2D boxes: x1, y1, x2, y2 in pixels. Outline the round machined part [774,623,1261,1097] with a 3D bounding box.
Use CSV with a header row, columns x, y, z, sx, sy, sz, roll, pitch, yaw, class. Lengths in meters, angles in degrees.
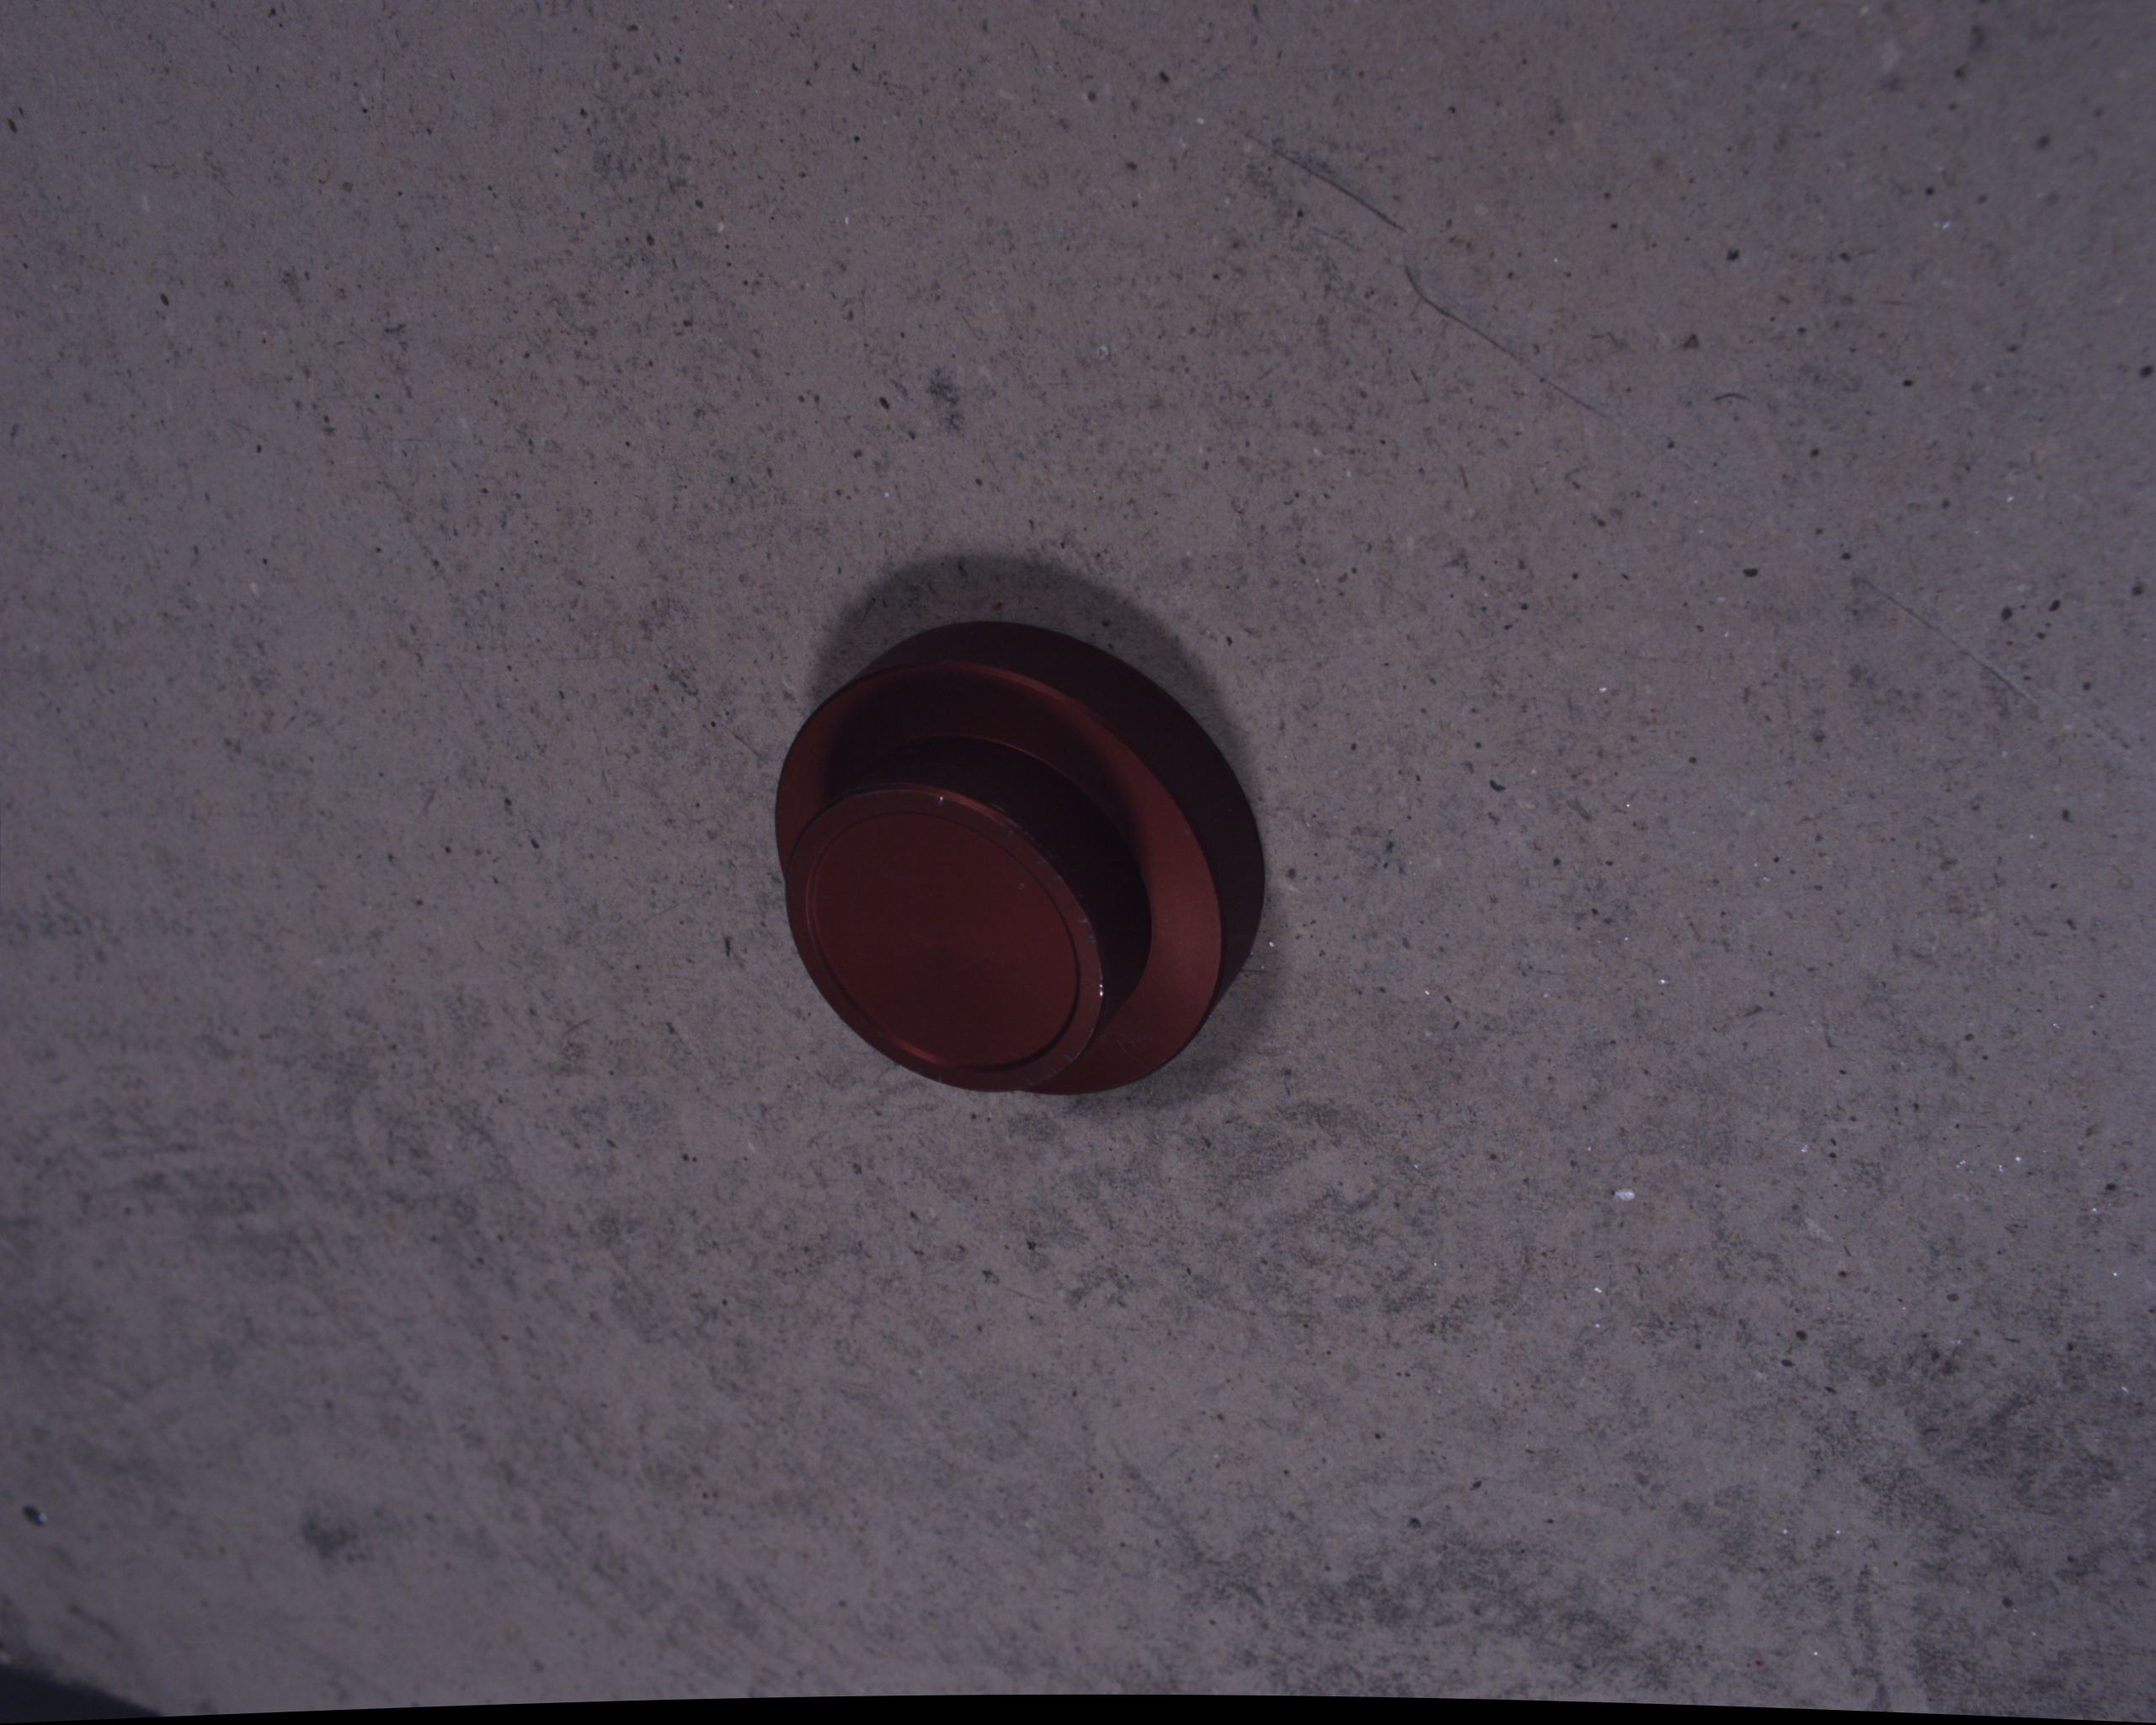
x,y,z,sx,sy,sz,roll,pitch,yaw,class
-0.018,0.006,0.408,0.098,0.042,0.097,13,124,20,round machined part
